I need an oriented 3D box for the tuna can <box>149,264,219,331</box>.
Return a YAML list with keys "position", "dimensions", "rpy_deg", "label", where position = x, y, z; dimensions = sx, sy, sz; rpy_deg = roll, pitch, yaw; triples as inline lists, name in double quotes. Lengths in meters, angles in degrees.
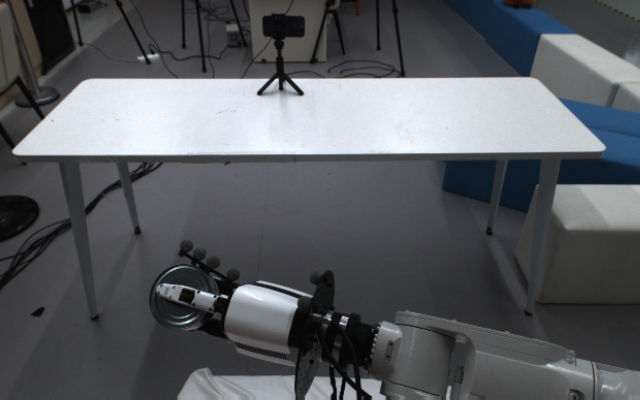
- position: [-0.178, 0.131, 0.644]
  dimensions: [0.085, 0.034, 0.085]
  rpy_deg: [-2, 71, 6]
  label: "tuna can"
